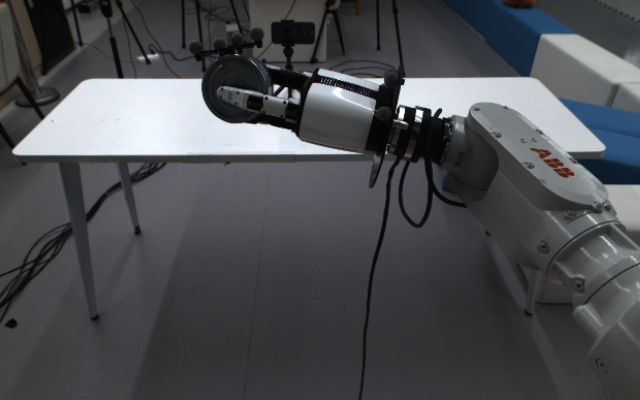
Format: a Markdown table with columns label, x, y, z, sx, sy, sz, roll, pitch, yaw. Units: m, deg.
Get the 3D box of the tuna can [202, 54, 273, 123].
| label | x | y | z | sx | sy | sz | roll | pitch | yaw |
| --- | --- | --- | --- | --- | --- | --- | --- | --- | --- |
| tuna can | -0.100 | -0.134 | 0.608 | 0.085 | 0.085 | 0.034 | 6 | 18 | 5 |
